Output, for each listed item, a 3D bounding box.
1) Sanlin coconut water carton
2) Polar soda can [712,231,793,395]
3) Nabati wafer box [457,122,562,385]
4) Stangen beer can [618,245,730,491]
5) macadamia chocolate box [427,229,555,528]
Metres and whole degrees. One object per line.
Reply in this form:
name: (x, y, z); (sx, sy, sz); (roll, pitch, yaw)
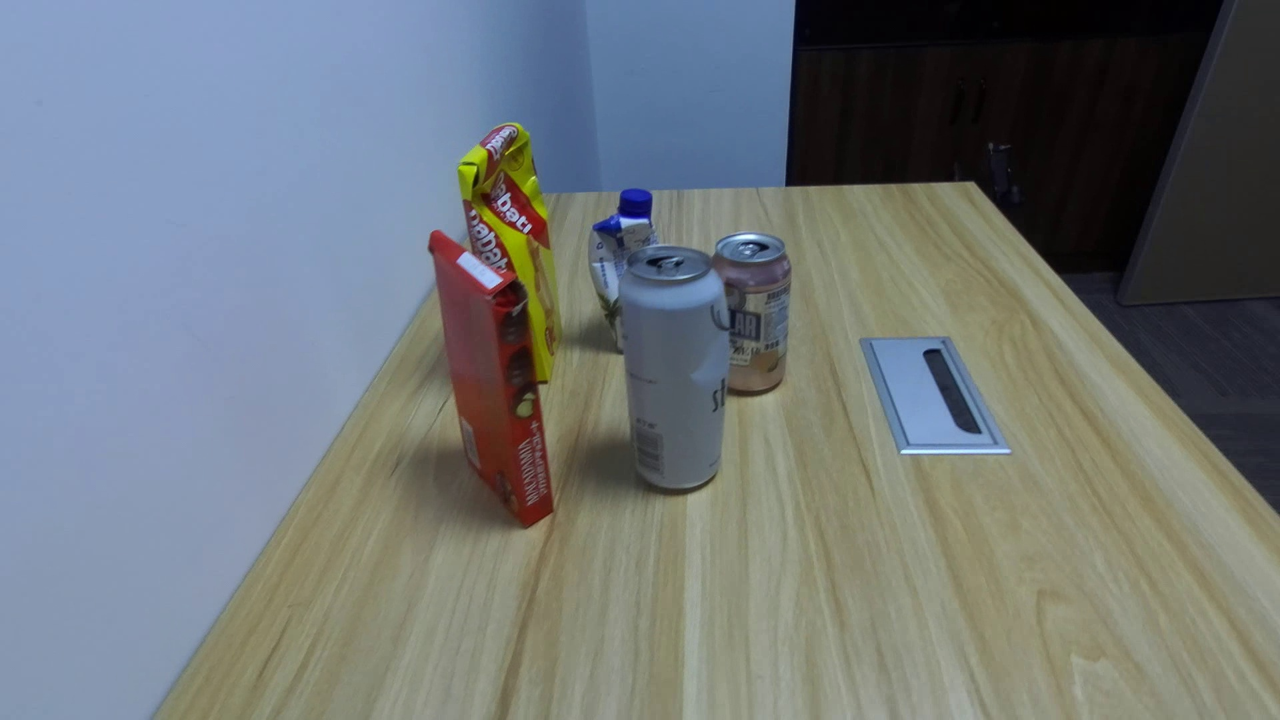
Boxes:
Sanlin coconut water carton: (-0.010, -0.080, 0.639); (0.068, 0.145, 0.056); (-15, 27, -3)
Polar soda can: (0.090, -0.037, 0.584); (0.067, 0.126, 0.067); (-3, 31, 2)
Nabati wafer box: (-0.105, -0.087, 0.607); (0.042, 0.205, 0.113); (-2, 36, 6)
Stangen beer can: (0.025, 0.007, 0.481); (0.069, 0.173, 0.070); (-2, 33, 2)
macadamia chocolate box: (-0.100, 0.013, 0.475); (0.027, 0.187, 0.102); (-22, 37, -31)
